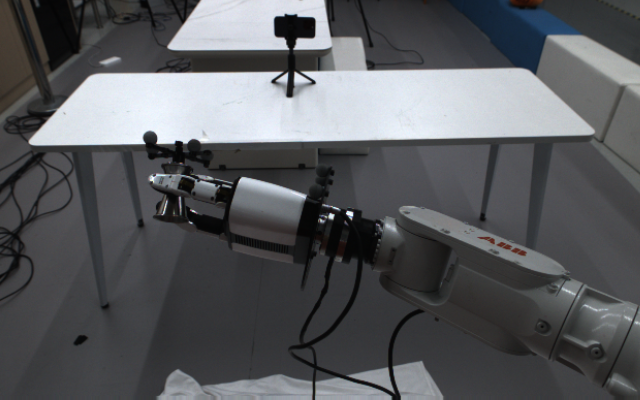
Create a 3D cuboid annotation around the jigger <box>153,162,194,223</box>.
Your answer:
[{"bbox_3d":[-0.182,-0.009,0.603,0.043,0.043,0.071,3,77,1],"label":"jigger"}]
